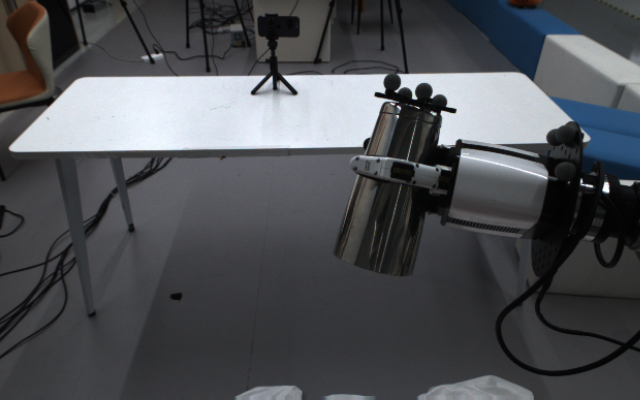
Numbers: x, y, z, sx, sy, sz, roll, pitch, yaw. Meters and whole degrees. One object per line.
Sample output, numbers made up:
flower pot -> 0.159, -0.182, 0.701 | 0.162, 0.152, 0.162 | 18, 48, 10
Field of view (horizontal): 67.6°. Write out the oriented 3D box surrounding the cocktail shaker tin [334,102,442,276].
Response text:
cocktail shaker tin -> 0.081, -0.014, 0.526 | 0.093, 0.170, 0.093 | 14, 6, -2
